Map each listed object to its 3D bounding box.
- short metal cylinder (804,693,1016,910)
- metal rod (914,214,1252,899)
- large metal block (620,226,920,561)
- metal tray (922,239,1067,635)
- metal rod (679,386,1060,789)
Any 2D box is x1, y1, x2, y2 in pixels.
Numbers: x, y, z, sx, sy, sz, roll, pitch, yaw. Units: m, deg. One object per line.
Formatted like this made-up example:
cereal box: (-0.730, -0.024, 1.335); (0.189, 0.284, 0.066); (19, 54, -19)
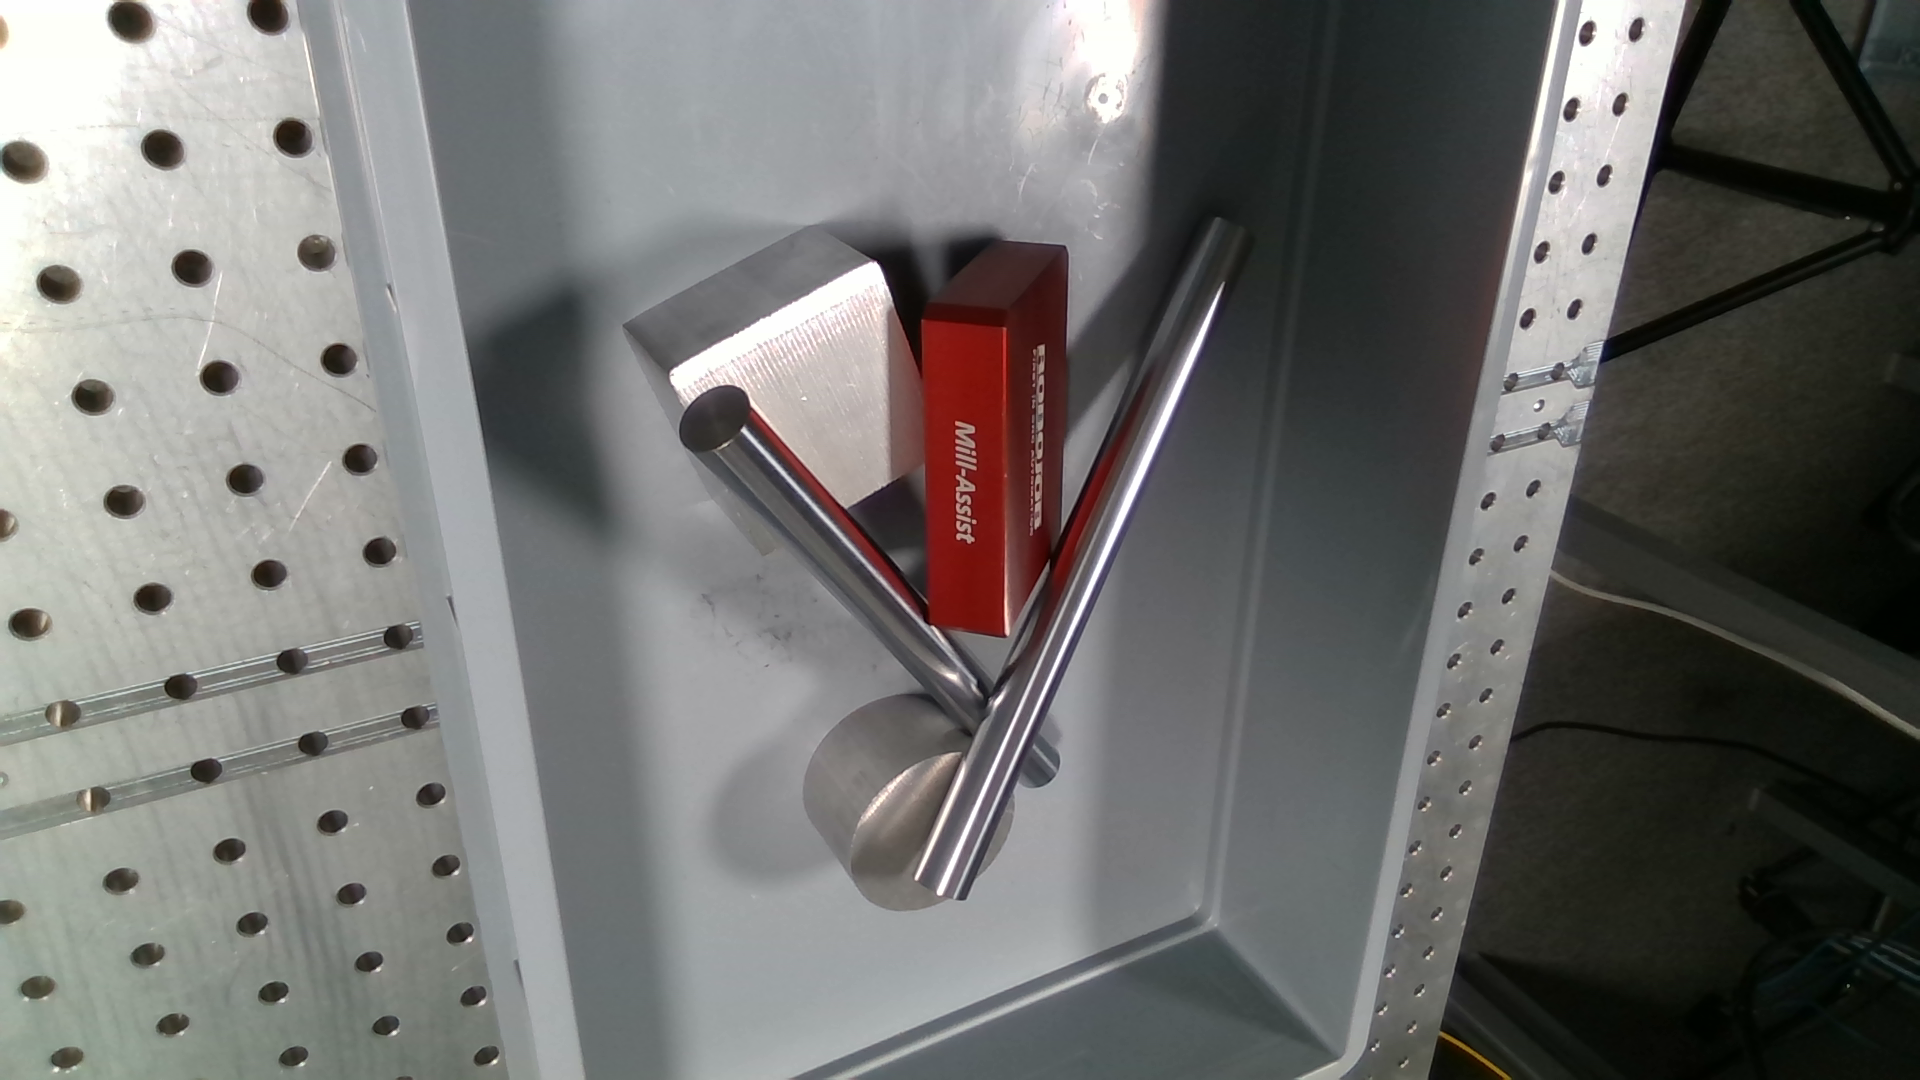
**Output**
short metal cylinder: (-0.022, 0.115, 0.611); (0.080, 0.050, 0.080); (-14, 122, -25)
metal rod: (0.051, 0.006, 0.576); (0.025, 0.025, 0.300); (25, 88, -38)
large metal block: (-0.061, -0.053, 0.493); (0.080, 0.050, 0.080); (-31, 127, -14)
metal tray: (0.015, -0.040, 0.528); (0.090, 0.030, 0.130); (-55, 149, -58)
metal rod: (-0.019, 0.036, 0.540); (0.025, 0.025, 0.301); (-44, 143, -4)
